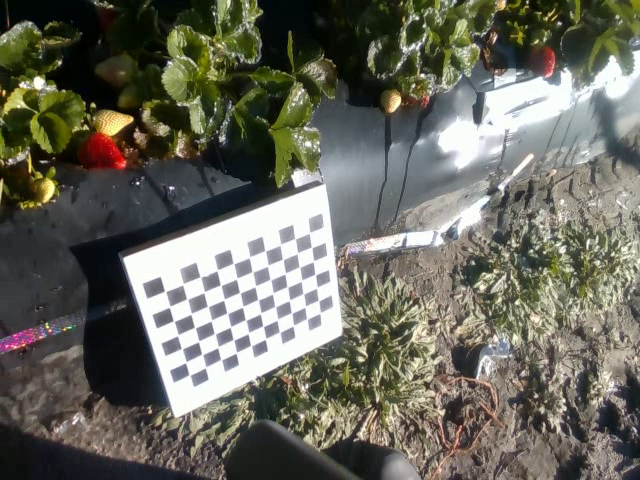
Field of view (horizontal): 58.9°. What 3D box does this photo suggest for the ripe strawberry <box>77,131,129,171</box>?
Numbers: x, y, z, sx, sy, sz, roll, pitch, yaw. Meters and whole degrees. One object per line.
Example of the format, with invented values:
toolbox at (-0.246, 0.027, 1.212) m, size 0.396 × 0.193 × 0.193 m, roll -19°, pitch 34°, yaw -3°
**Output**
ripe strawberry at (-0.215, -0.085, 0.563) m, size 0.053 × 0.040 × 0.042 m, roll 32°, pitch -6°, yaw 24°
